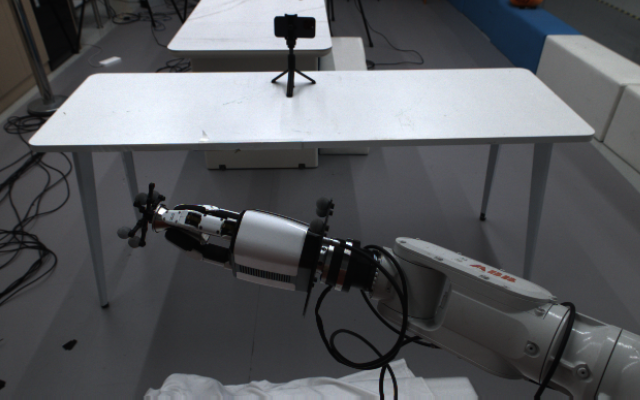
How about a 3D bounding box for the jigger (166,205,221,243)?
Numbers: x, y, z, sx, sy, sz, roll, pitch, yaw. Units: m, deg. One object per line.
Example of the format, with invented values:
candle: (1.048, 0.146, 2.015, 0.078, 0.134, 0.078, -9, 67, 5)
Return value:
jigger: (-0.176, 0.030, 0.644, 0.071, 0.043, 0.043, 13, 36, 4)
